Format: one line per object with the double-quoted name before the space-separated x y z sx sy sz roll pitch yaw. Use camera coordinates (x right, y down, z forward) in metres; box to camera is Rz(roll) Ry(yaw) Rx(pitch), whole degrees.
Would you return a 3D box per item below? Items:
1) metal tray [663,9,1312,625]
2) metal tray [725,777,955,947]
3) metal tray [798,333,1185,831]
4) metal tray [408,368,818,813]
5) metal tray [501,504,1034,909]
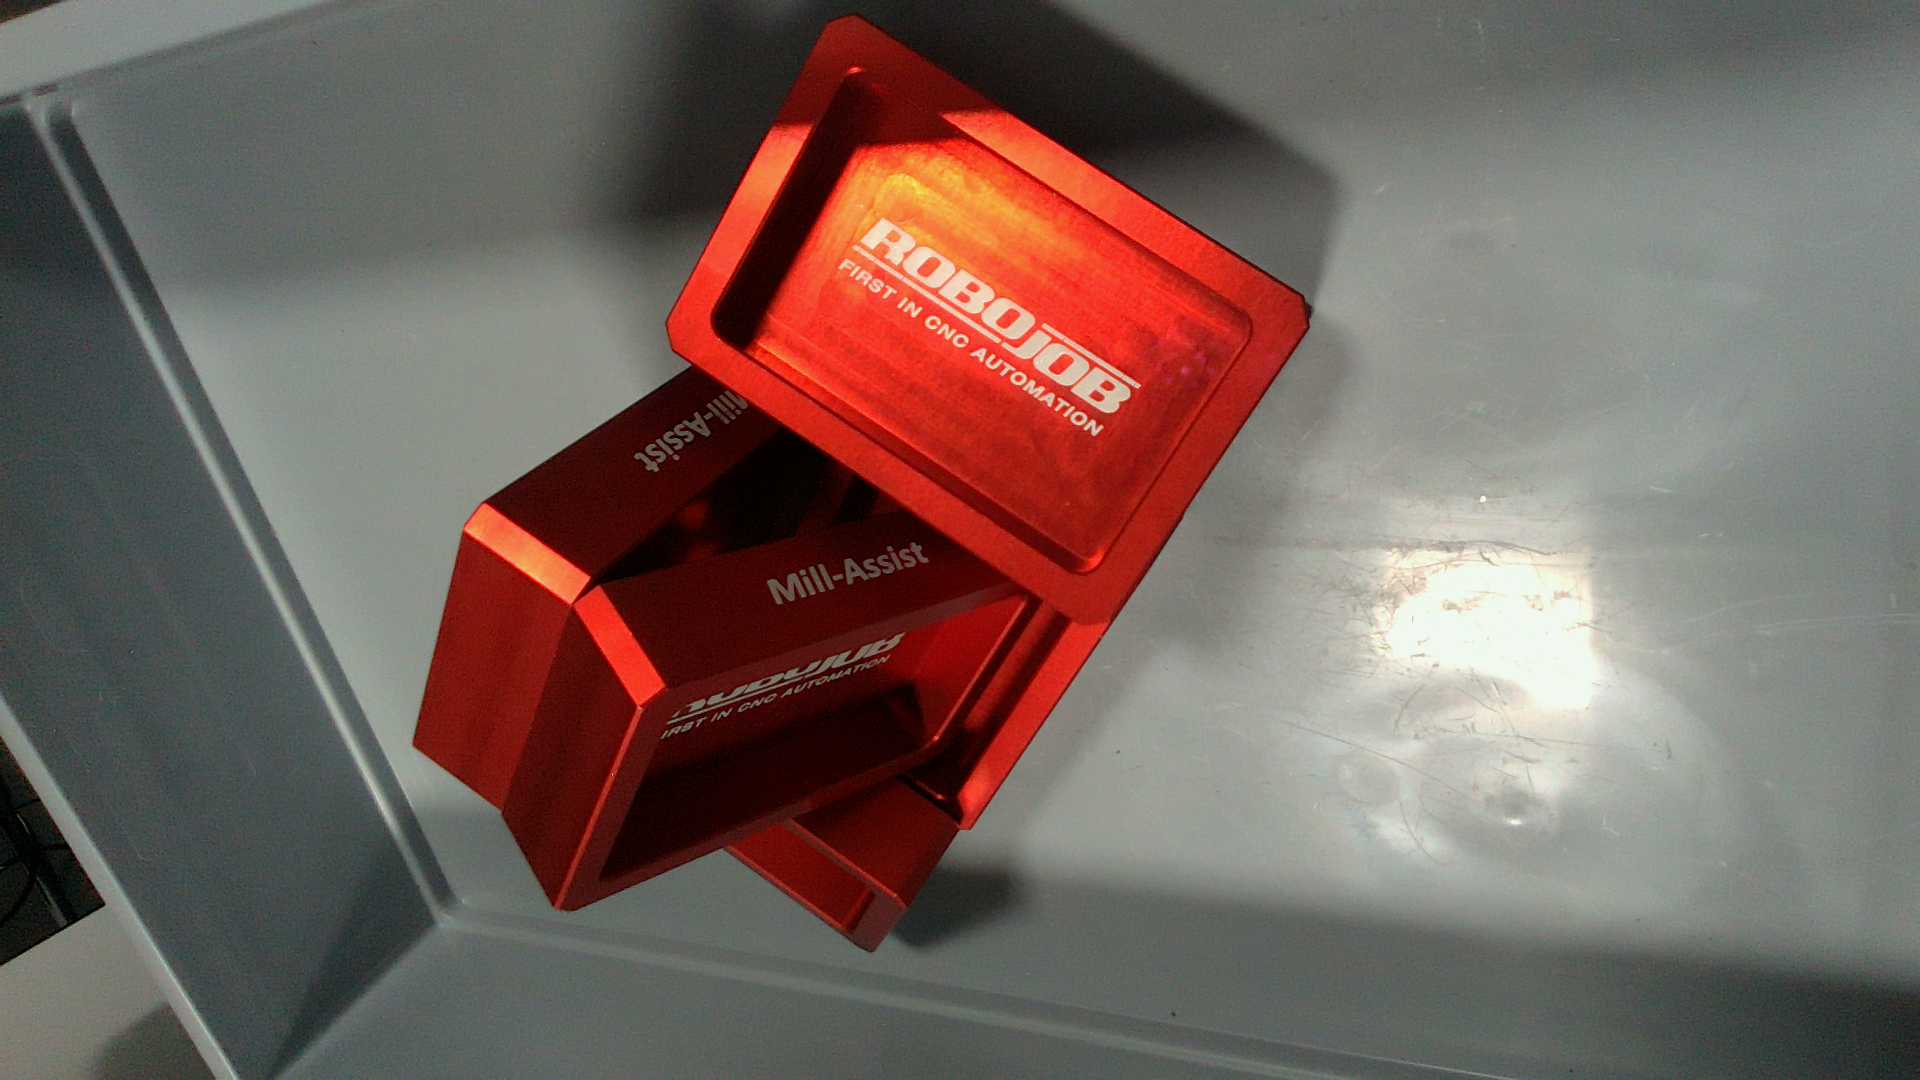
"metal tray" 0.006 -0.052 0.330 0.130 0.030 0.090 34 103 6
"metal tray" -0.070 0.079 0.452 0.130 0.030 0.090 34 153 5
"metal tray" -0.005 0.017 0.400 0.090 0.030 0.130 34 129 6
"metal tray" -0.083 0.002 0.368 0.030 0.130 0.090 35 129 6
"metal tray" -0.044 0.037 0.354 0.030 0.131 0.090 50 133 23
